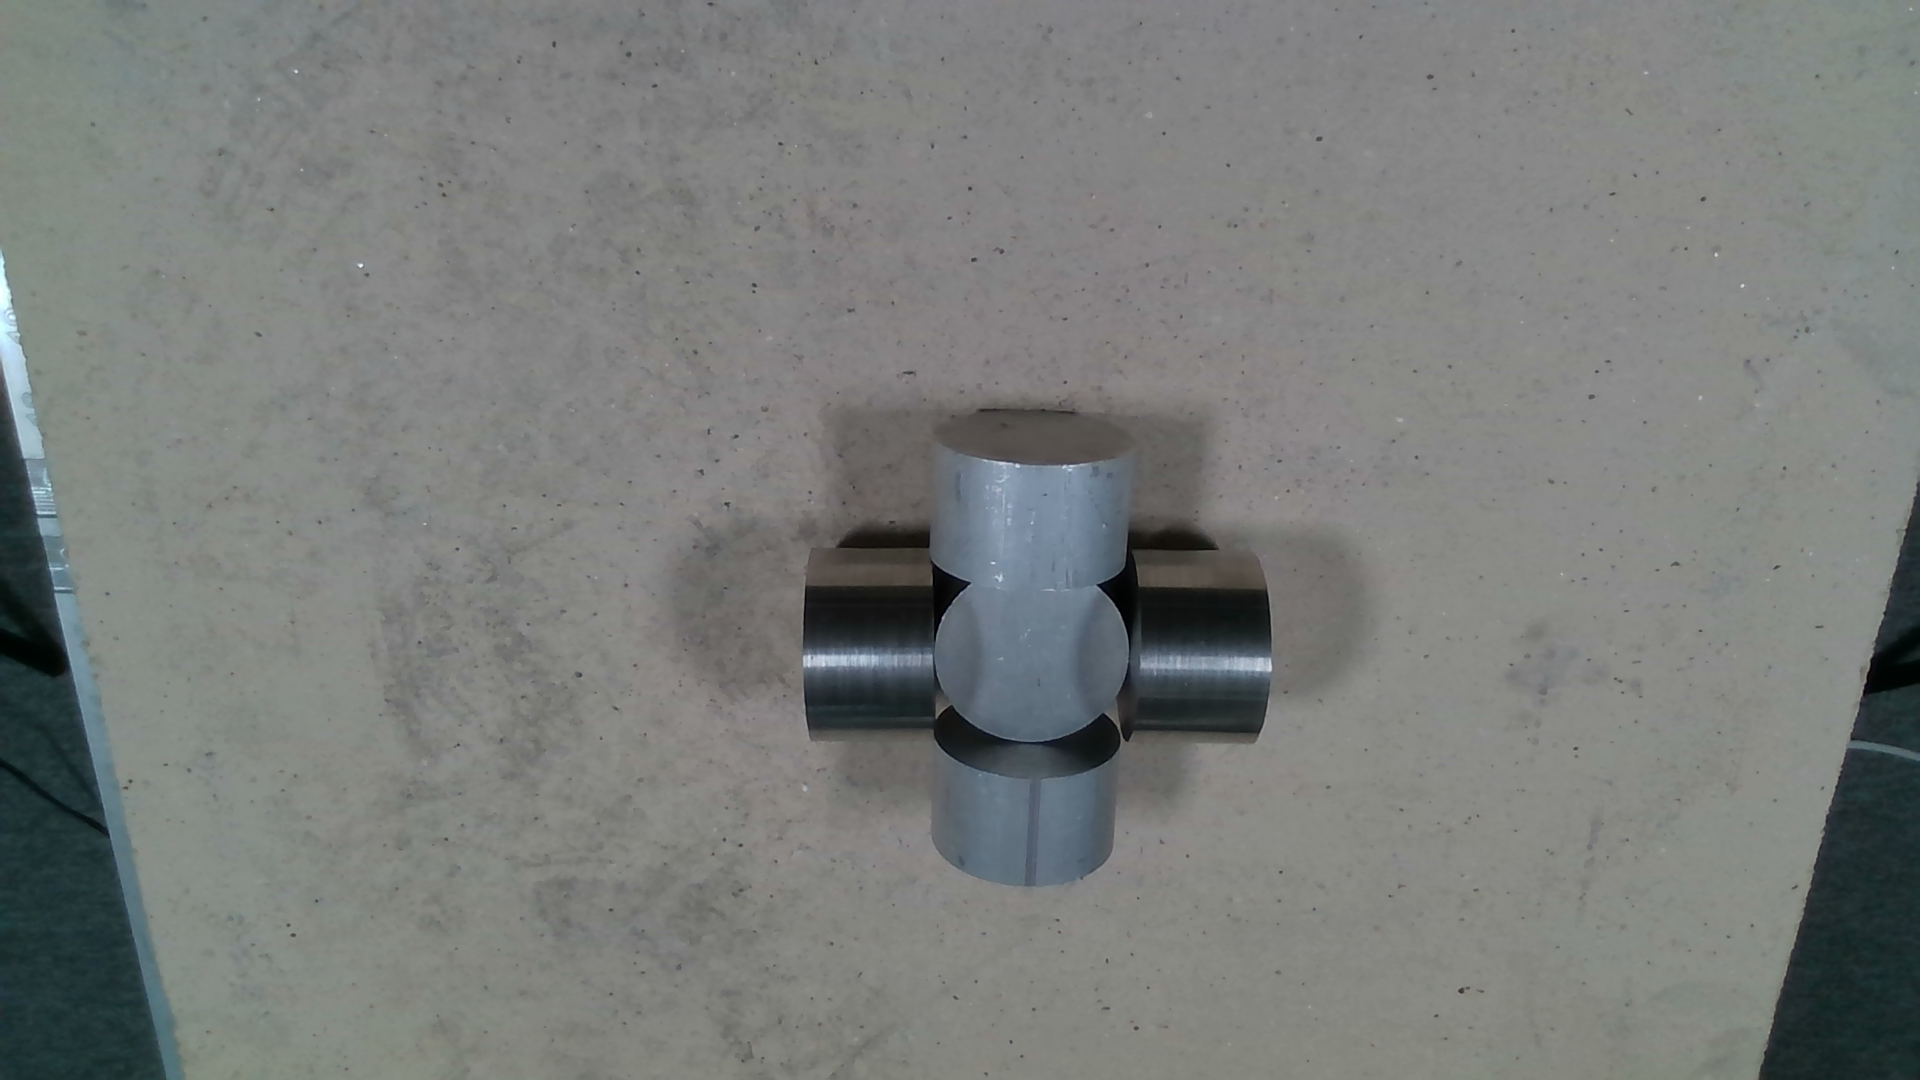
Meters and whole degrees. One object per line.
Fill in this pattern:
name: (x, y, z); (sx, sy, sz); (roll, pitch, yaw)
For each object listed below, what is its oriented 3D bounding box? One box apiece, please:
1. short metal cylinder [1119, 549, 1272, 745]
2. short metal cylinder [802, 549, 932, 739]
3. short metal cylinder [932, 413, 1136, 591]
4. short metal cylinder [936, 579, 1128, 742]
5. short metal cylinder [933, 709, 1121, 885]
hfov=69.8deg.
short metal cylinder: (0.095, 0.044, 0.571); (0.050, 0.080, 0.080); (2, 110, 0)
short metal cylinder: (-0.036, 0.043, 0.571); (0.050, 0.080, 0.080); (0, 110, -1)
short metal cylinder: (0.028, -0.018, 0.549); (0.080, 0.080, 0.050); (2, 110, -1)
short metal cylinder: (0.029, 0.038, 0.586); (0.080, 0.050, 0.080); (0, 110, 0)
short metal cylinder: (0.028, 0.105, 0.594); (0.080, 0.080, 0.050); (2, 110, -1)
